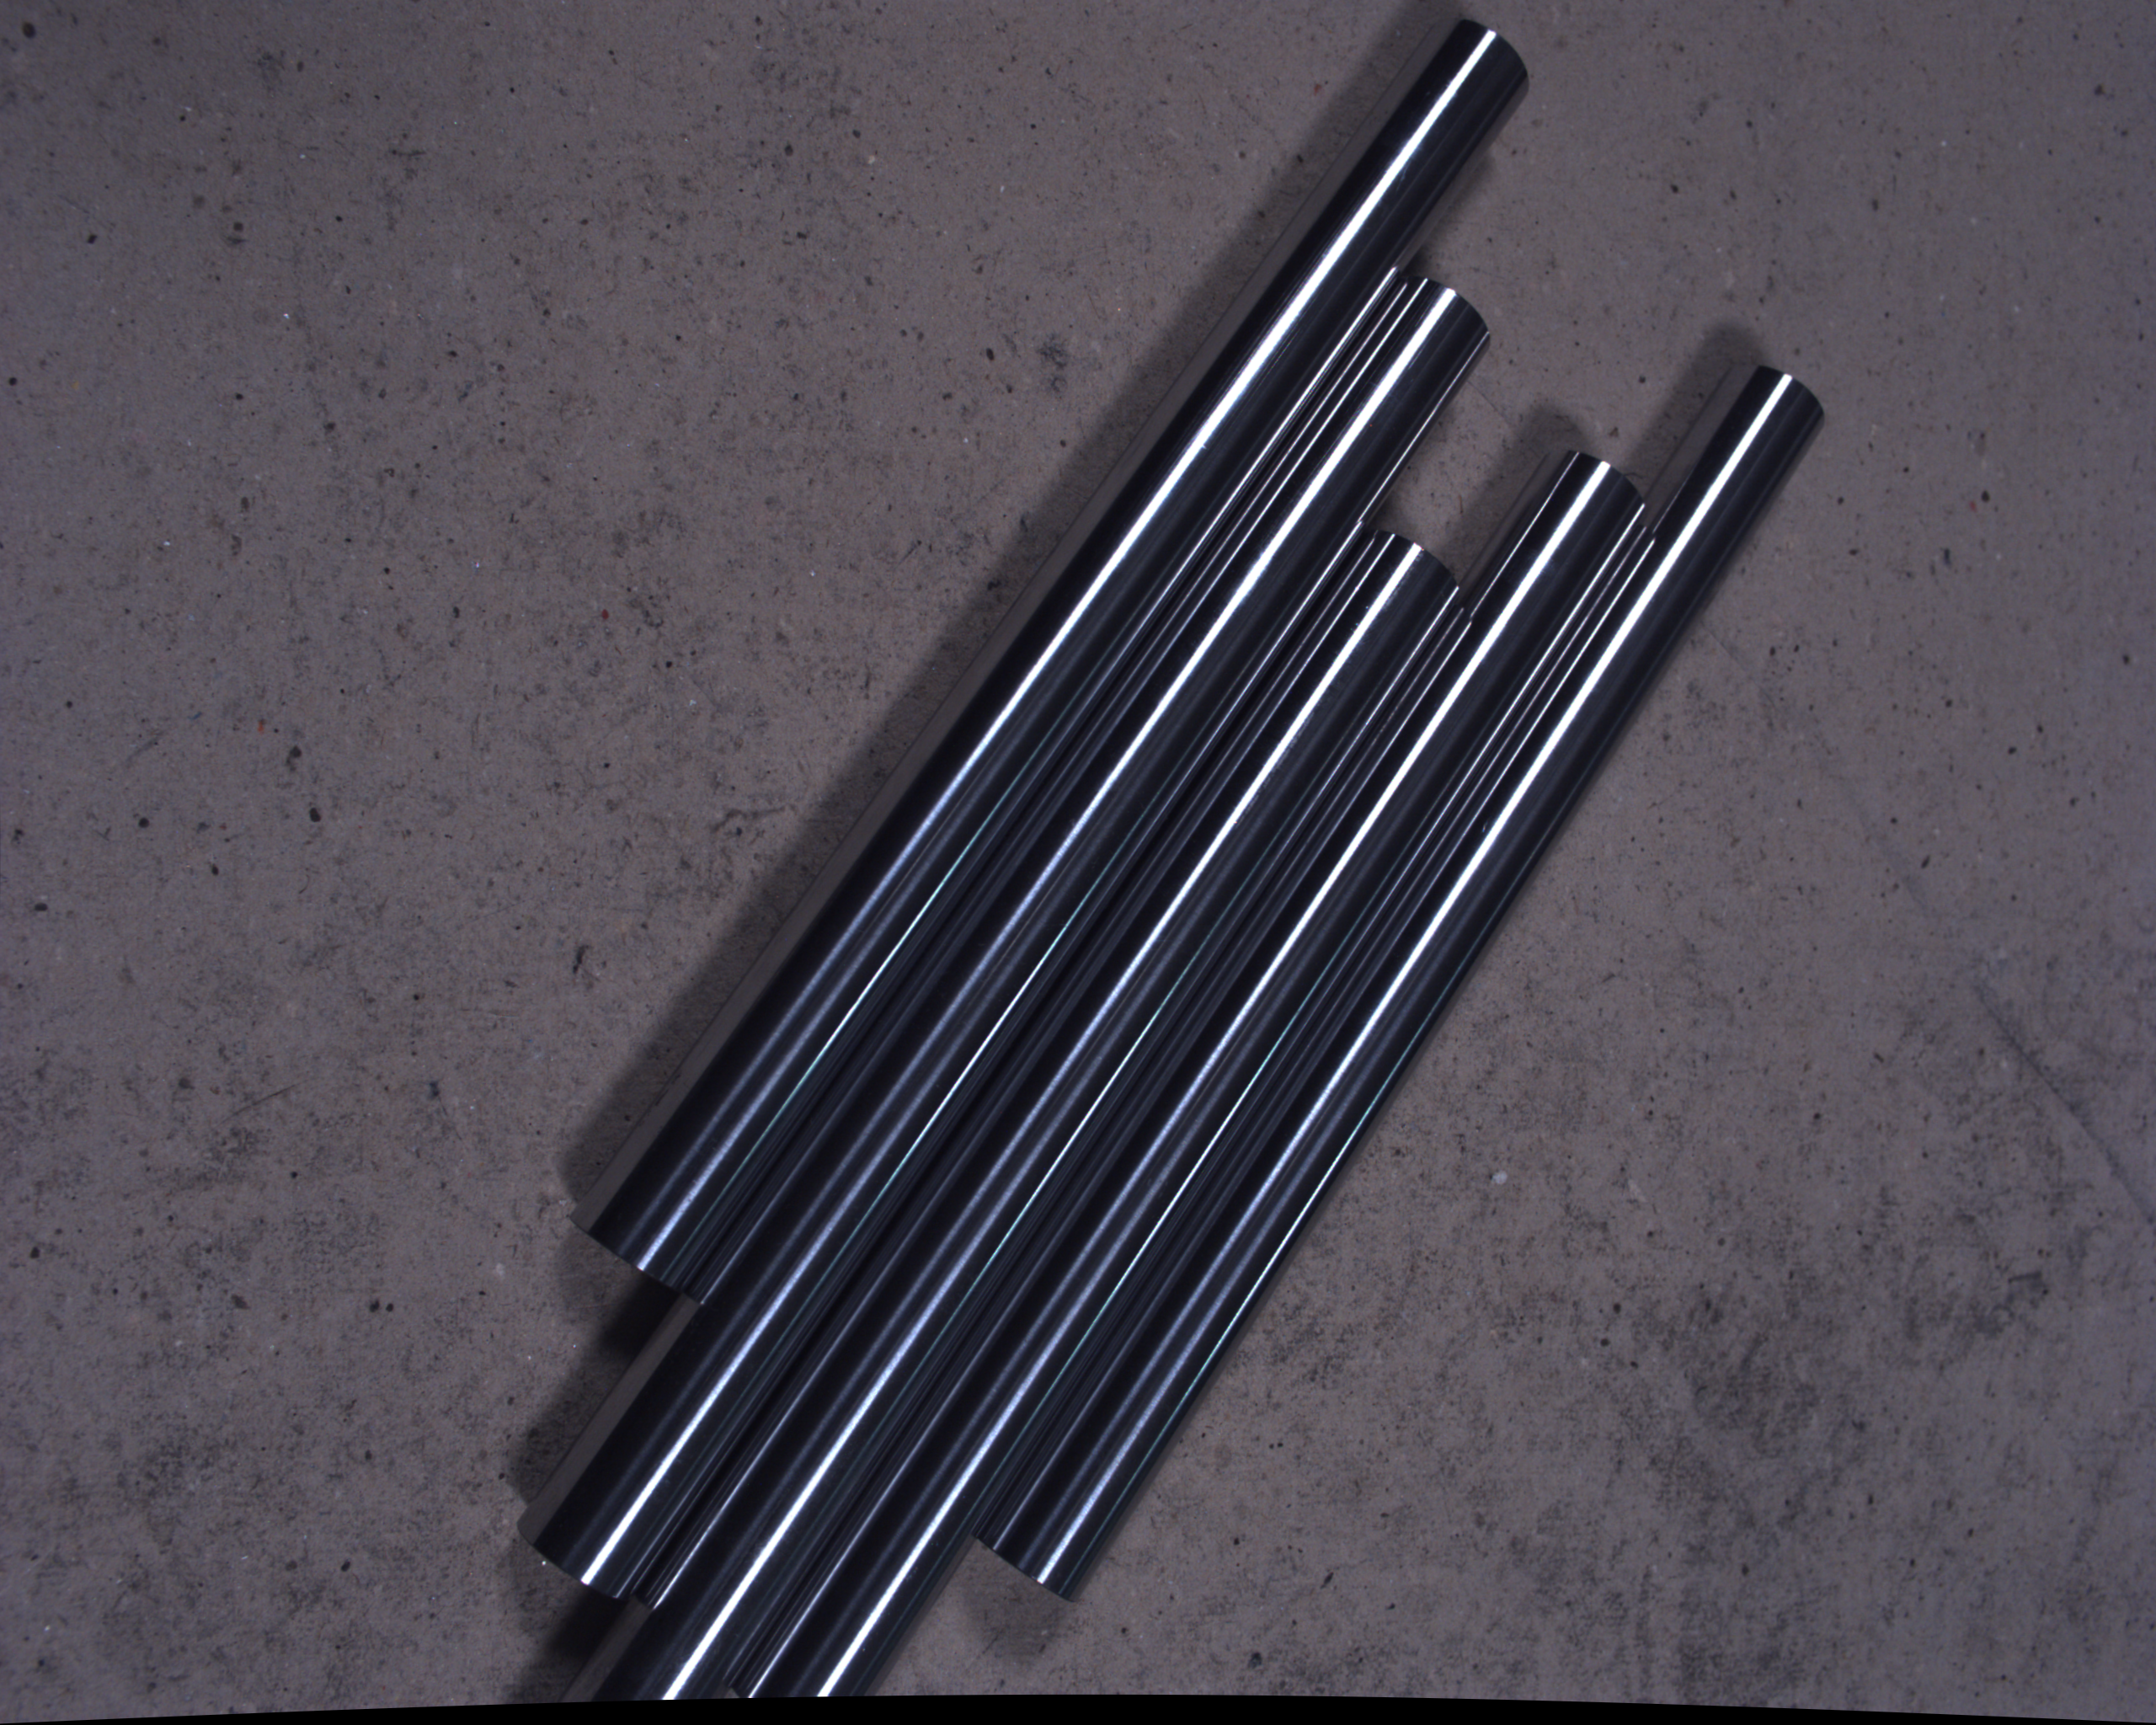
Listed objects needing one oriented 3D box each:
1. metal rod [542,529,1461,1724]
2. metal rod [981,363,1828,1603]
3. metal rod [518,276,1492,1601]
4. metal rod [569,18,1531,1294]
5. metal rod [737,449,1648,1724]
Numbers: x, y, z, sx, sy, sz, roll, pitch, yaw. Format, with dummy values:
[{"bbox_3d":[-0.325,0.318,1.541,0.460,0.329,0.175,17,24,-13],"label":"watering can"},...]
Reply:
[{"bbox_3d":[-0.014,0.059,0.406,0.025,0.025,0.300,38,78,-16],"label":"metal rod"},{"bbox_3d":[0.073,0.017,0.438,0.025,0.025,0.300,38,78,-16],"label":"metal rod"},{"bbox_3d":[-0.007,0.006,0.409,0.025,0.025,0.300,38,78,-16],"label":"metal rod"},{"bbox_3d":[0.001,-0.049,0.412,0.025,0.025,0.300,38,78,-16],"label":"metal rod"},{"bbox_3d":[0.029,0.039,0.422,0.025,0.025,0.300,38,78,-16],"label":"metal rod"}]
